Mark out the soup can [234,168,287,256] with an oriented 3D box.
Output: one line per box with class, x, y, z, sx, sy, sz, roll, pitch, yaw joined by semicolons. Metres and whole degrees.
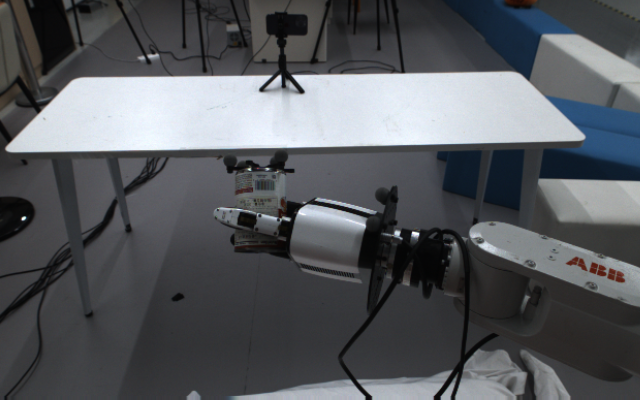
soup can;-0.074;0.016;0.615;0.067;0.101;0.067;-1;-9;0
